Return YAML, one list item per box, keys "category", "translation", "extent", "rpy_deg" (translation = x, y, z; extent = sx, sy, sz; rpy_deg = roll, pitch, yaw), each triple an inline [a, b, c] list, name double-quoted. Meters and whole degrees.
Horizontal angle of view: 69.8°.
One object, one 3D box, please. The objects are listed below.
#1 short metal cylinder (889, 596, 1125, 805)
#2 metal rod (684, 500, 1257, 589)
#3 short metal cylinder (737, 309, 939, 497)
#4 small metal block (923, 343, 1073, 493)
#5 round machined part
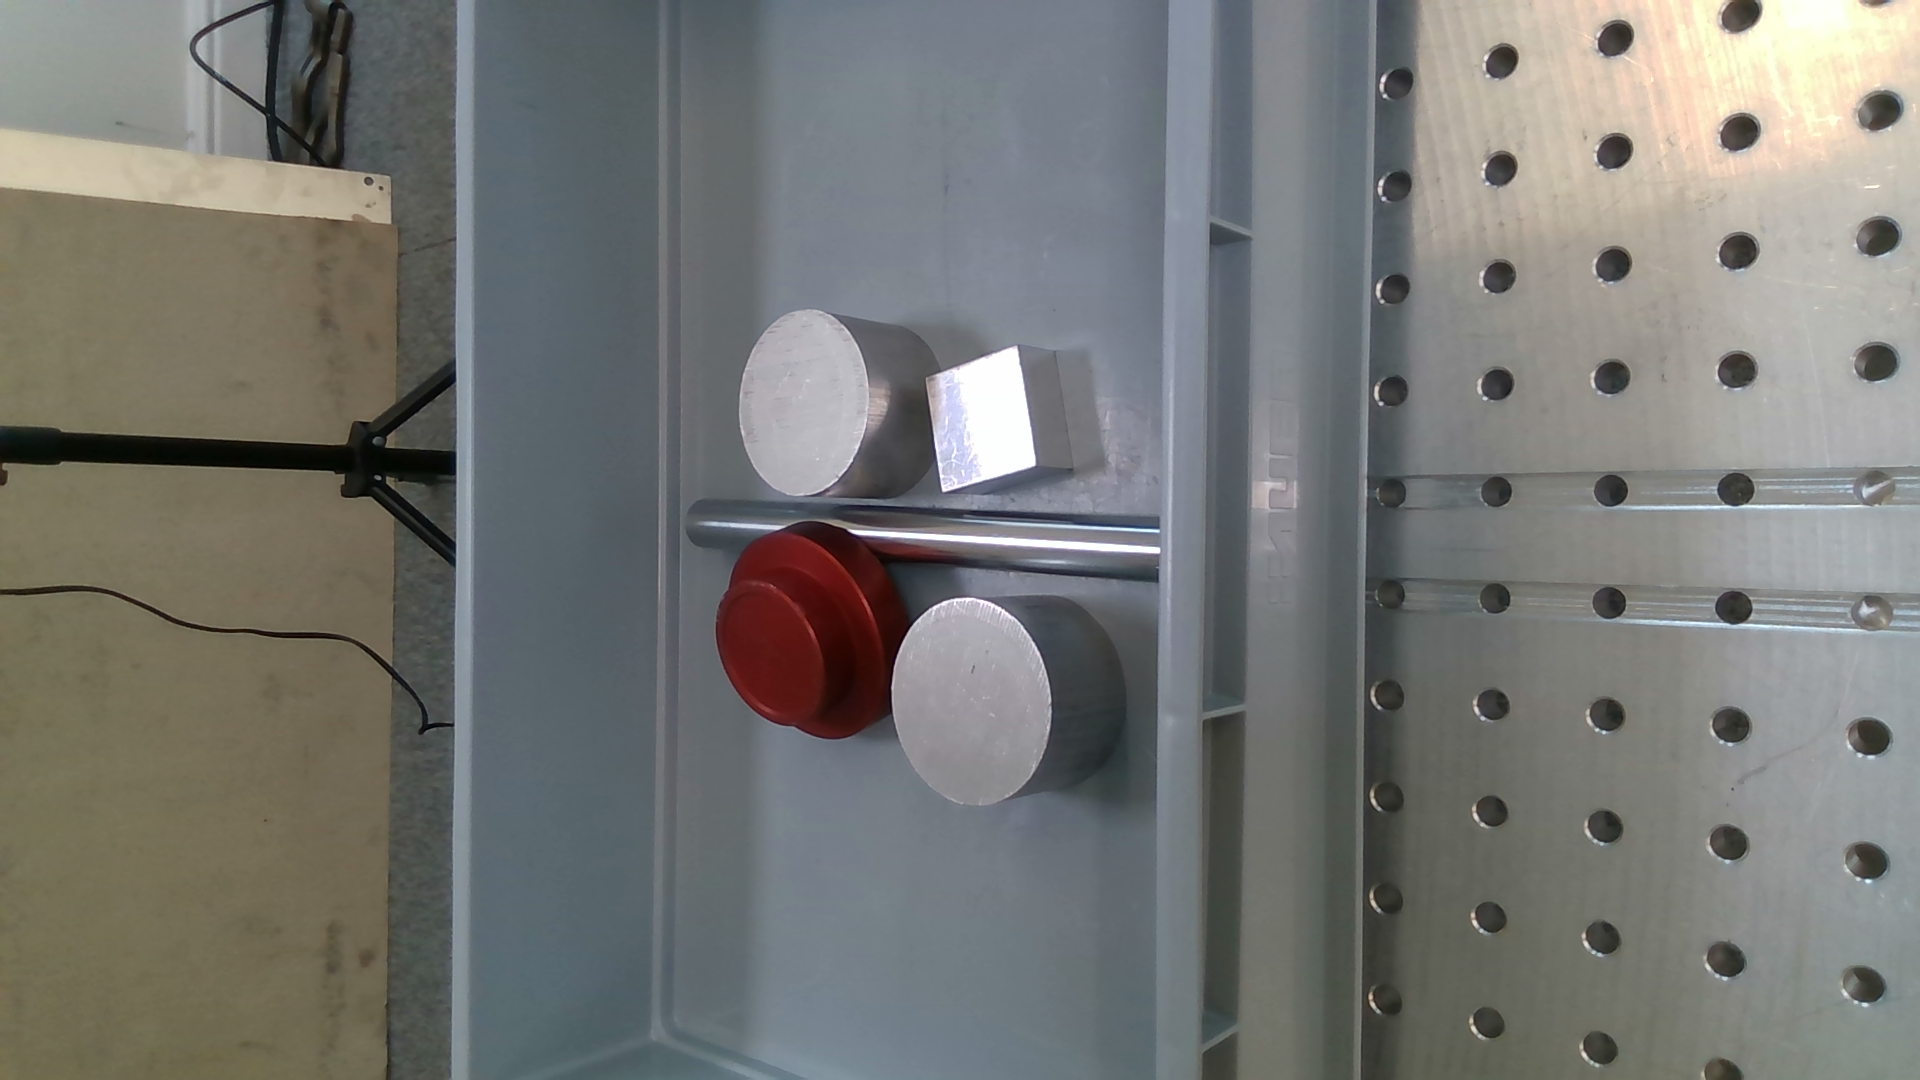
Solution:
- category: "short metal cylinder"
  translation: [0.018, 0.062, 0.549]
  extent: [0.080, 0.050, 0.080]
  rpy_deg: [0, 91, 40]
- category: "metal rod"
  translation: [-0.014, -0.002, 0.592]
  extent: [0.300, 0.025, 0.025]
  rpy_deg: [4, 93, 40]
- category: "short metal cylinder"
  translation: [-0.053, -0.059, 0.607]
  extent: [0.080, 0.050, 0.080]
  rpy_deg: [0, 91, 40]
- category: "small metal block"
  translation: [0.015, -0.049, 0.567]
  extent: [0.050, 0.025, 0.050]
  rpy_deg: [-15, 81, 39]
- category: "round machined part"
  translation: [-0.071, 0.044, 0.614]
  extent: [0.098, 0.042, 0.098]
  rpy_deg: [15, 116, 35]
